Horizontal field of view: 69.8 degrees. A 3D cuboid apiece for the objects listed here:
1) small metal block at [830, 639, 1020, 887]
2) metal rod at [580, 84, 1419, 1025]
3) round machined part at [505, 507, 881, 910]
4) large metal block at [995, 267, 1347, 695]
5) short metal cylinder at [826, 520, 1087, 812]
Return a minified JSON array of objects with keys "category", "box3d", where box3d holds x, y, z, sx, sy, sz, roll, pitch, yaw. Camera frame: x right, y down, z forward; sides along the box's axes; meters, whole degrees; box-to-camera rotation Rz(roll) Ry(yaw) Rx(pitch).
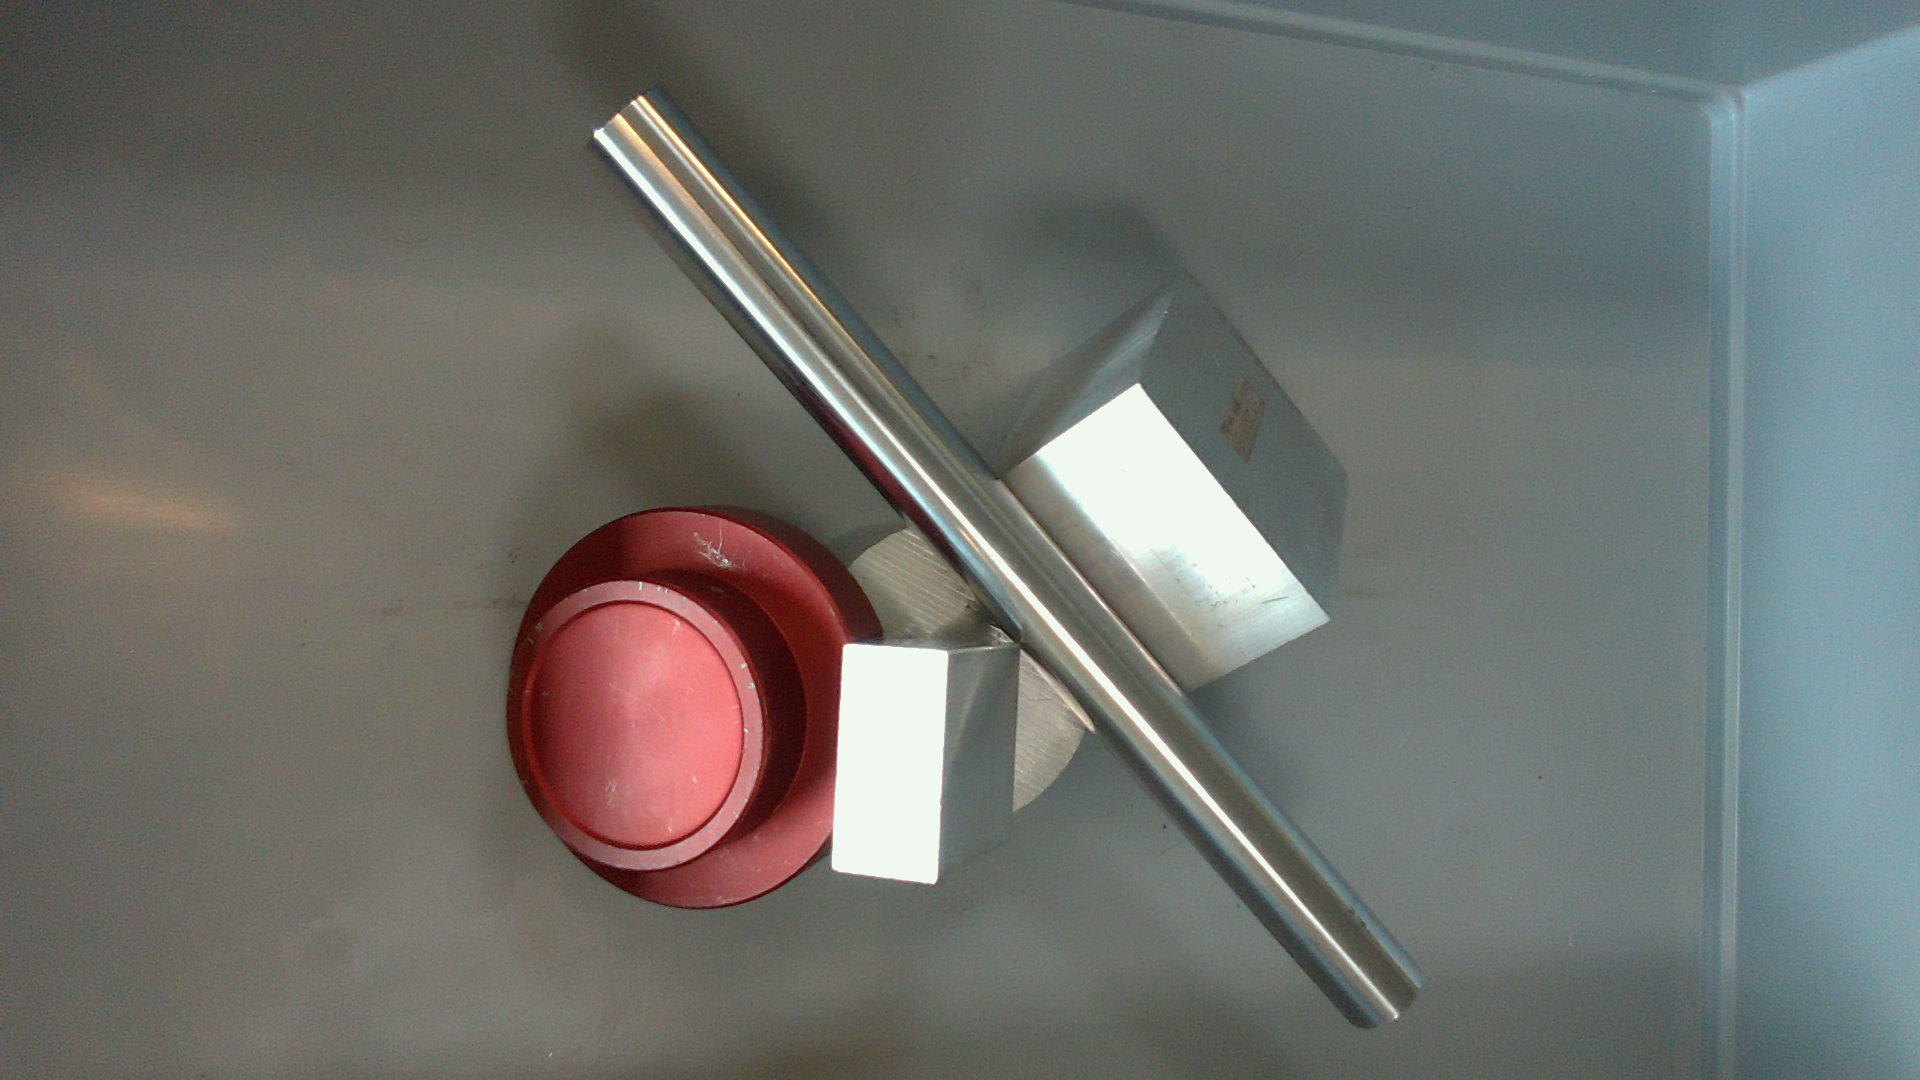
[{"category":"small metal block","box3d":[-0.007,0.049,0.321,0.025,0.050,0.050,3,89,21]},{"category":"metal rod","box3d":[0.020,0.015,0.346,0.025,0.025,0.300,-45,104,-14]},{"category":"round machined part","box3d":[-0.068,0.041,0.331,0.098,0.042,0.098,1,94,18]},{"category":"large metal block","box3d":[0.060,-0.017,0.378,0.080,0.050,0.080,48,33,-14]},{"category":"short metal cylinder","box3d":[-0.009,0.034,0.375,0.080,0.050,0.080,0,90,-20]}]
